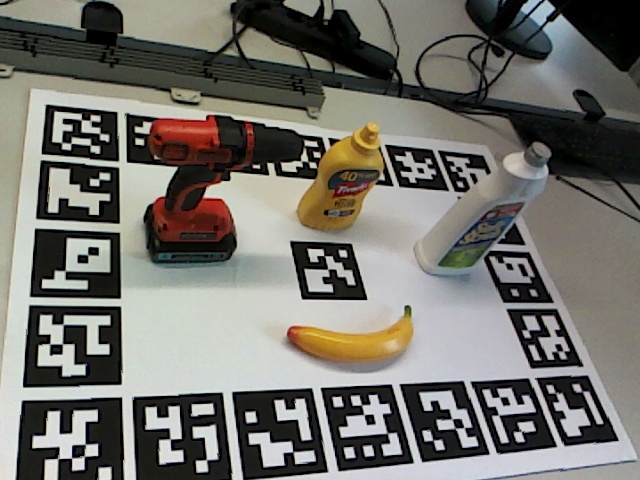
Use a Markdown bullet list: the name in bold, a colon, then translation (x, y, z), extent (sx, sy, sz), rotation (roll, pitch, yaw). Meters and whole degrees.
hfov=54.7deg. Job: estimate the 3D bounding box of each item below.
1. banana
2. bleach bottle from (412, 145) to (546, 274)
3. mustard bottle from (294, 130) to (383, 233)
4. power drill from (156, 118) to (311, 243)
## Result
- **banana**: translation (0.053, 0.125, 0.825), extent (0.196, 0.039, 0.074), rotation (-4, 58, -23)
- **bleach bottle**: translation (0.236, -0.044, 0.909), extent (0.102, 0.251, 0.068), rotation (10, 51, -18)
- **mustard bottle**: translation (0.037, -0.086, 0.896), extent (0.095, 0.192, 0.059), rotation (-4, 56, -29)
- **power drill**: translation (-0.117, -0.074, 0.776), extent (0.184, 0.187, 0.057), rotation (-5, 56, -23)
